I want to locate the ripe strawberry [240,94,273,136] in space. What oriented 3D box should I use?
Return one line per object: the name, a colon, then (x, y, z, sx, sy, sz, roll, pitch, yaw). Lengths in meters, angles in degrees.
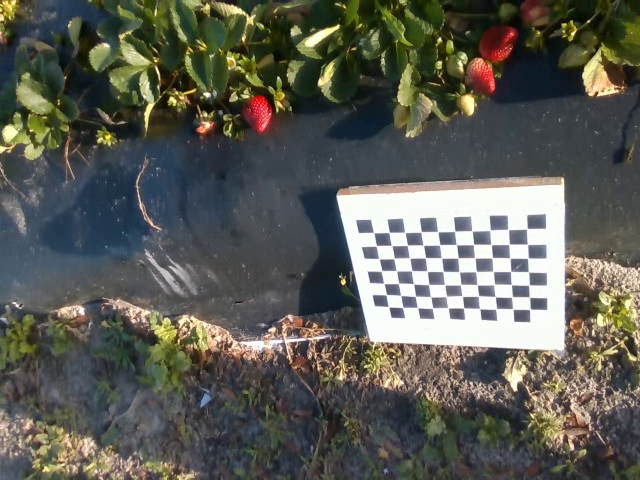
ripe strawberry: (-0.090, -0.172, 0.877, 0.052, 0.051, 0.041, -32, -39, 33)
